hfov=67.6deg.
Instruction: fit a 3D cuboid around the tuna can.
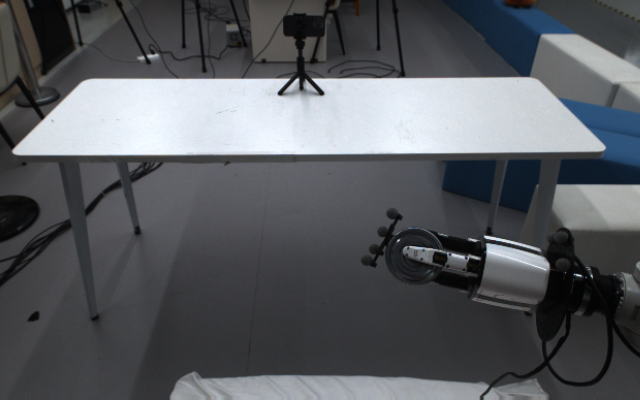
[{"bbox_3d":[0.142,0.080,0.711,0.085,0.085,0.034,9,-5,10],"label":"tuna can"}]
